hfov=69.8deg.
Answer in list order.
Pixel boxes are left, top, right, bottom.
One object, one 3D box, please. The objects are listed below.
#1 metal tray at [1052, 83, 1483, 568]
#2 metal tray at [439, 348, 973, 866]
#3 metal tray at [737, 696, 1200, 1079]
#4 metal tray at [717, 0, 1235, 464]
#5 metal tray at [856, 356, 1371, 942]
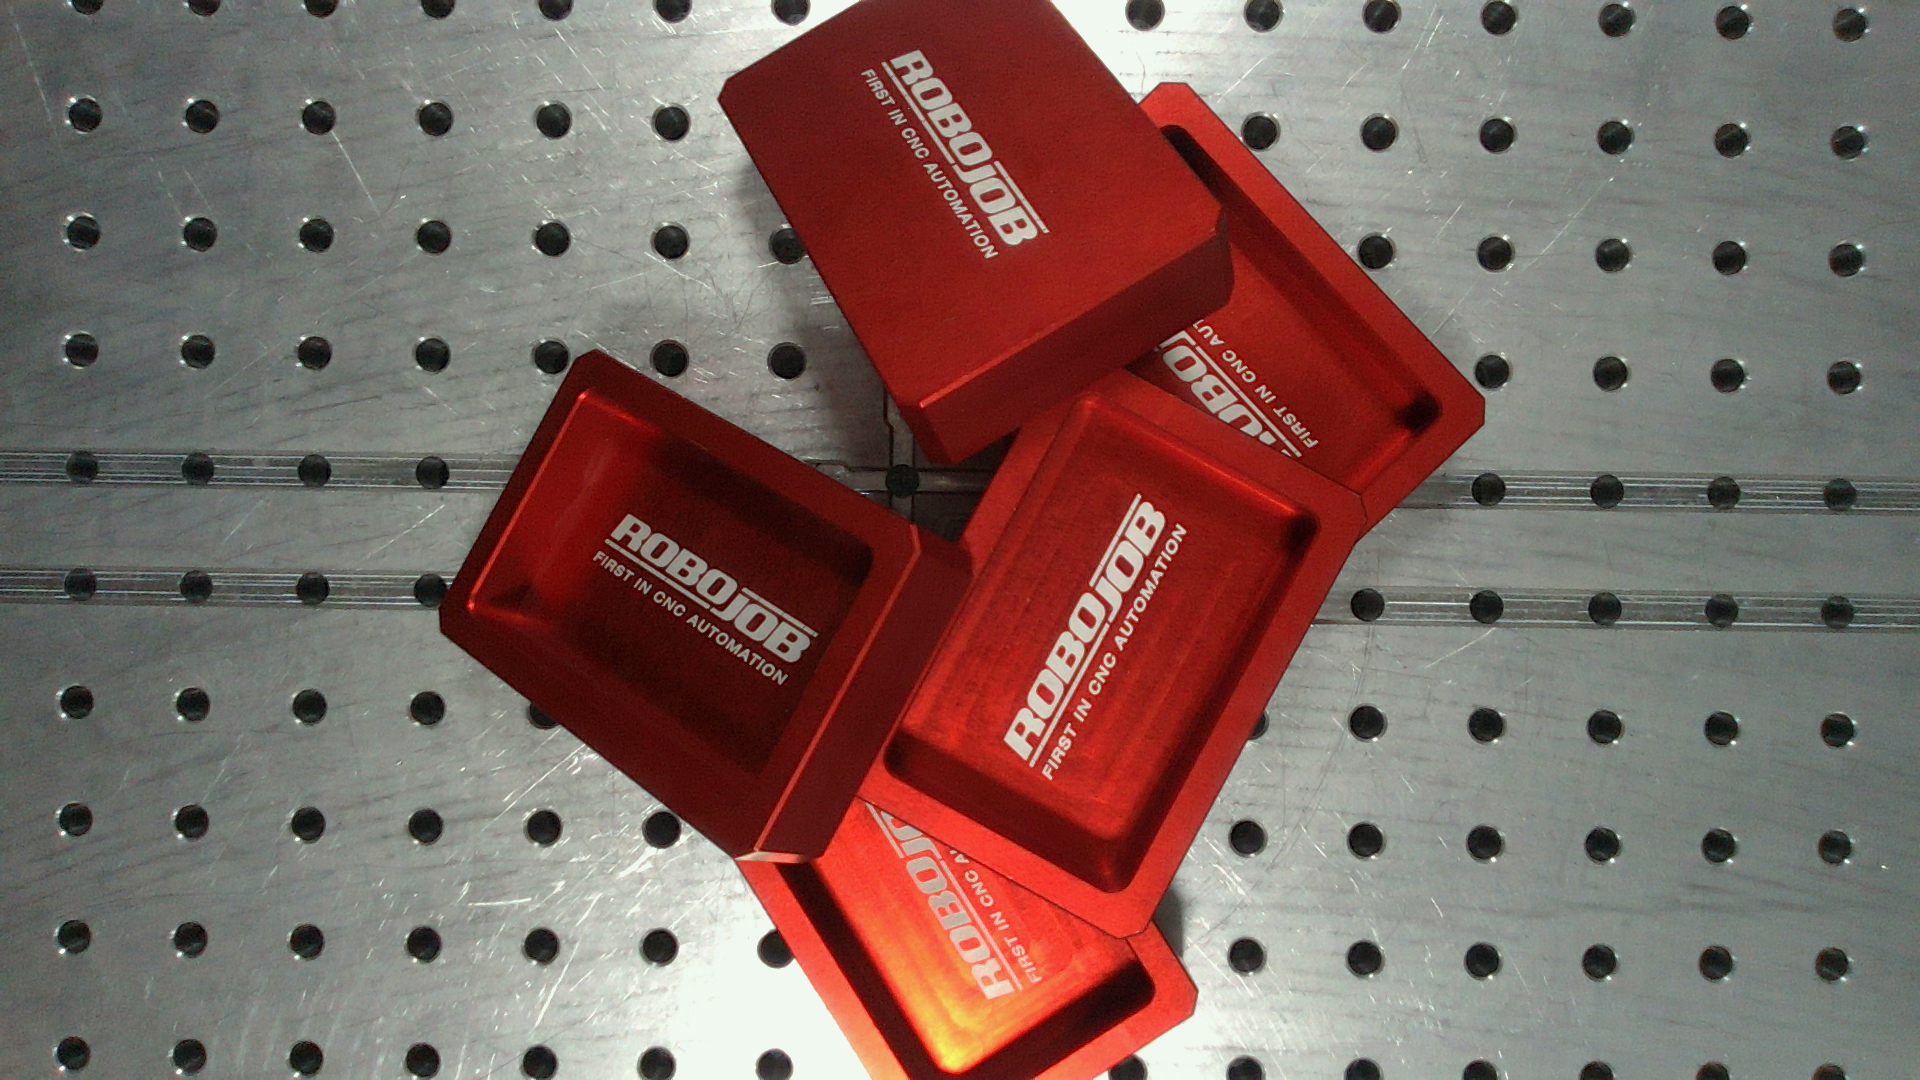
[{"bbox_3d":[0.071,-0.052,0.395,0.090,0.030,0.130,-43,90,0],"label":"metal tray"},{"bbox_3d":[-0.071,0.014,0.364,0.130,0.030,0.090,29,90,30],"label":"metal tray"},{"bbox_3d":[-0.004,0.098,0.395,0.090,0.030,0.130,-33,90,0],"label":"metal tray"},{"bbox_3d":[0.001,-0.094,0.364,0.090,0.030,0.130,-30,60,0],"label":"metal tray"},{"bbox_3d":[0.037,0.027,0.365,0.090,0.030,0.130,28,90,0],"label":"metal tray"}]
